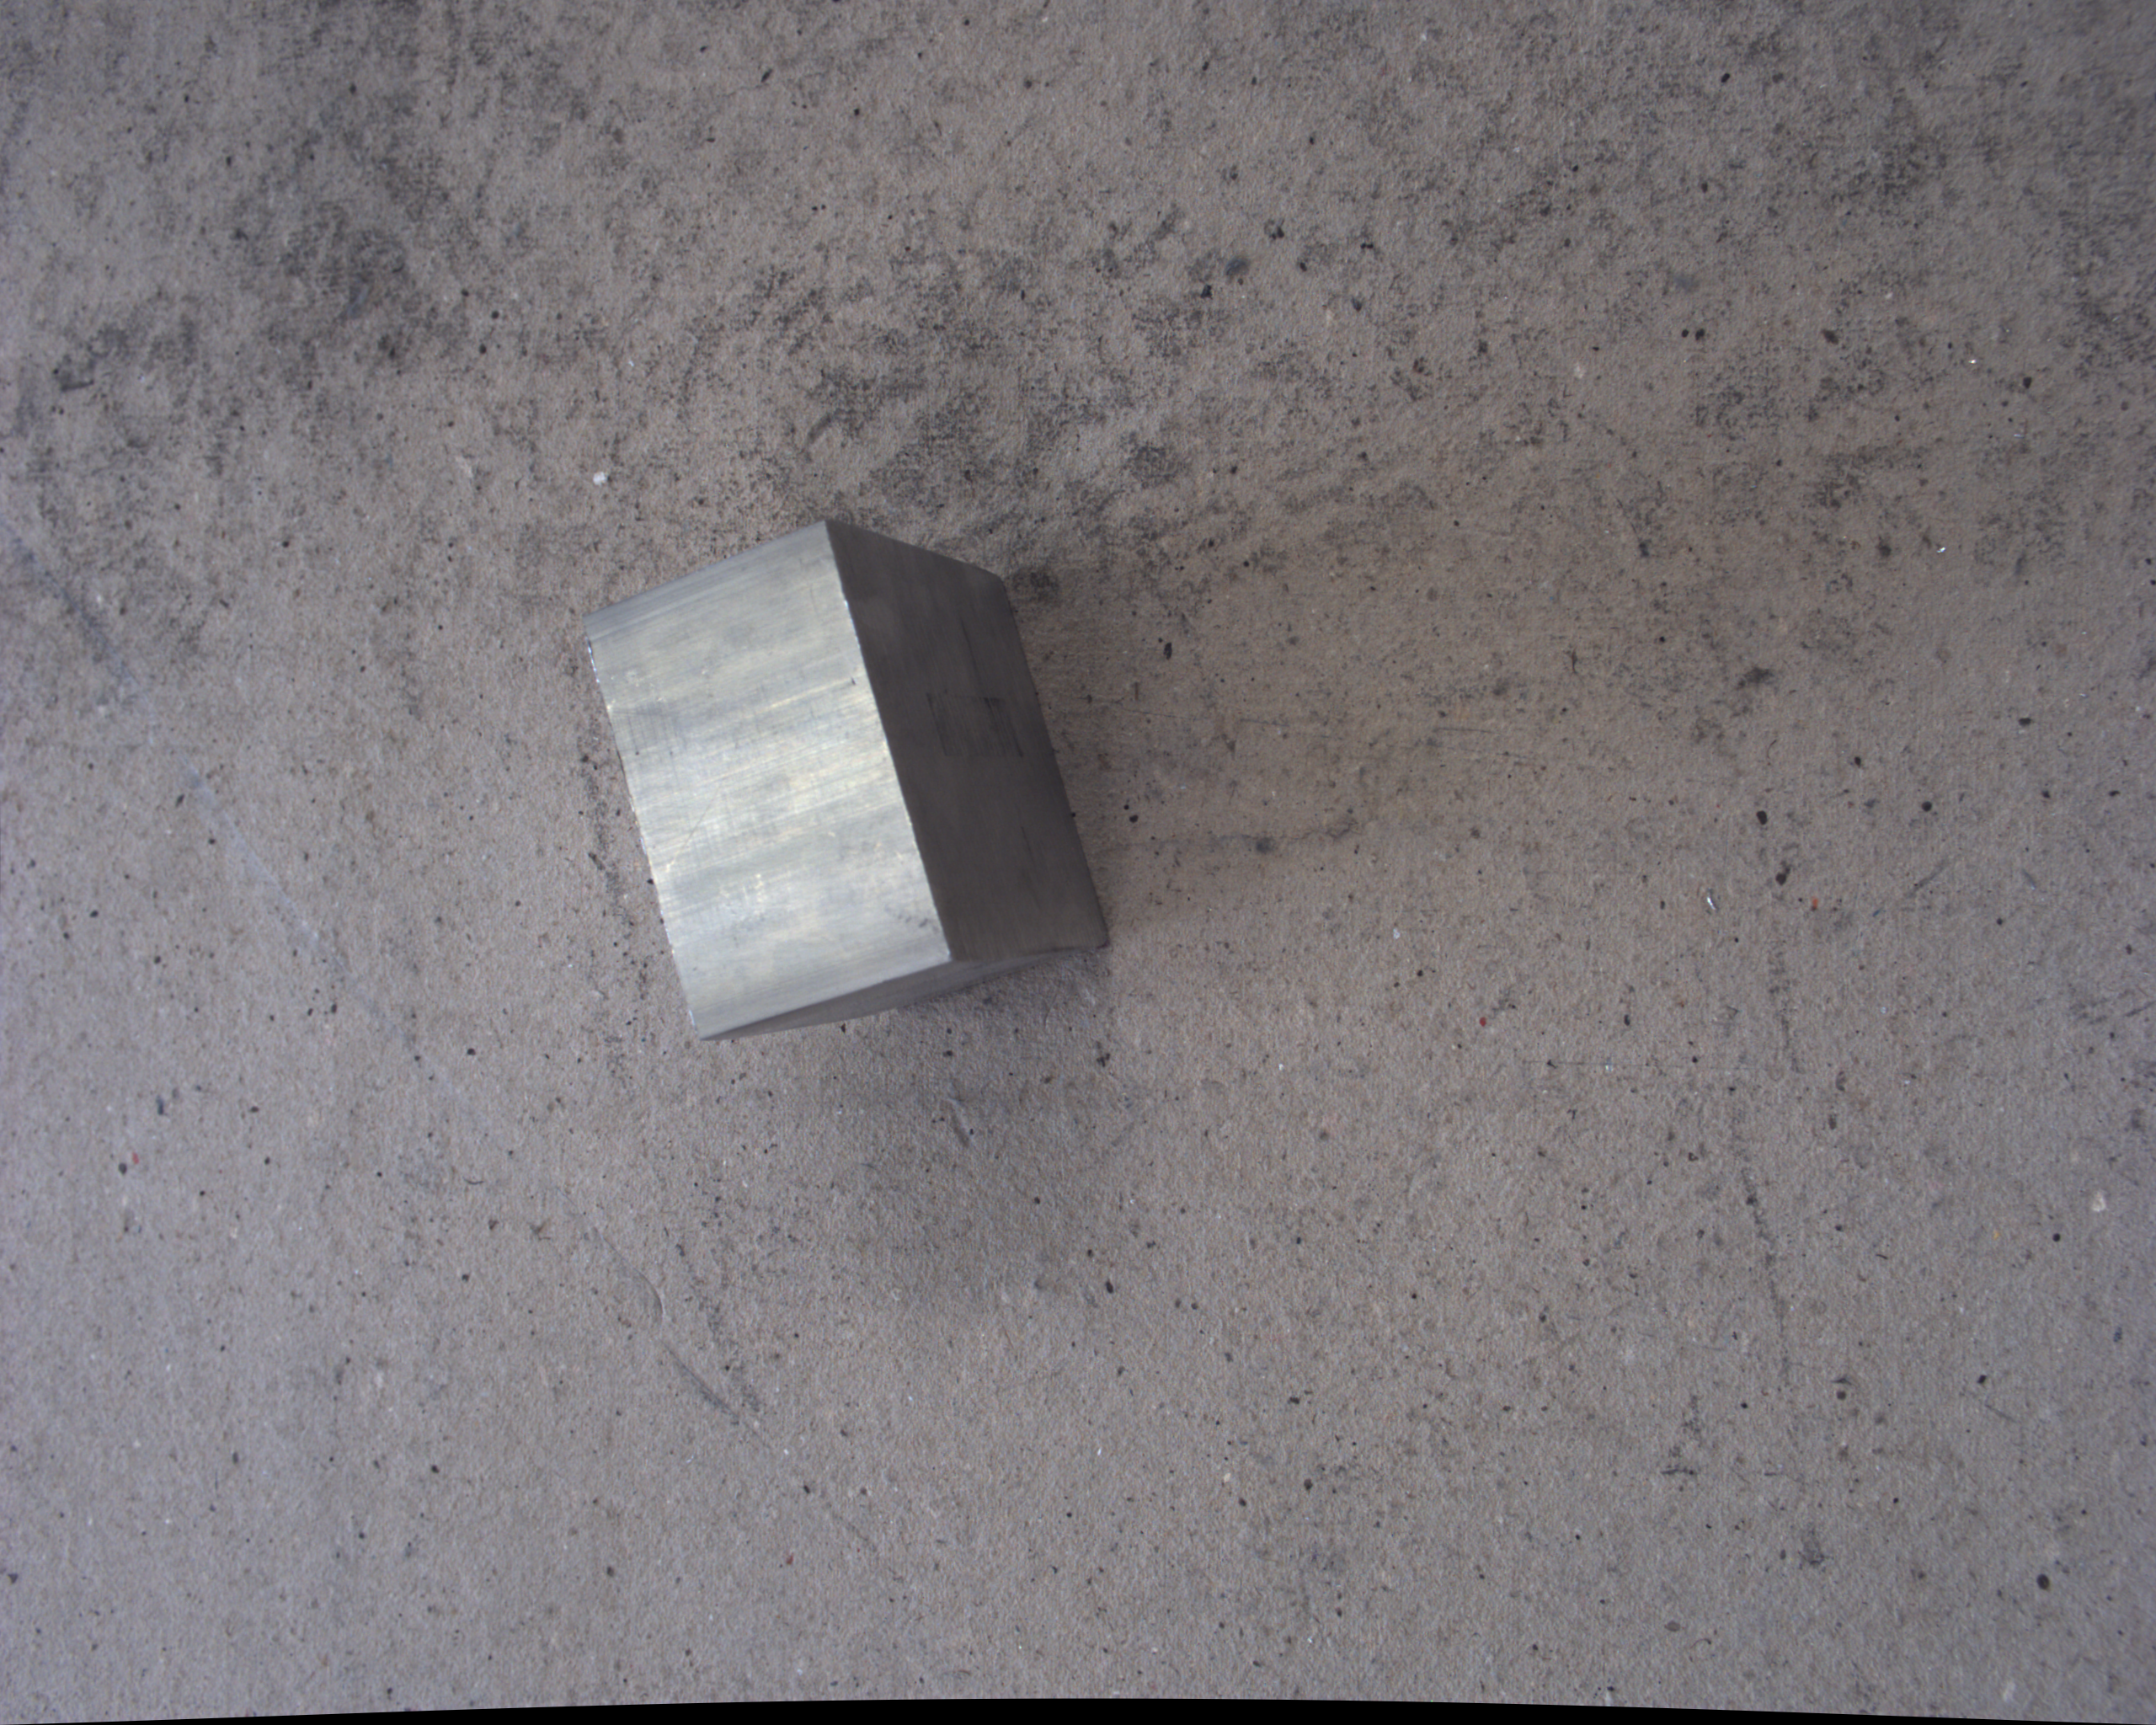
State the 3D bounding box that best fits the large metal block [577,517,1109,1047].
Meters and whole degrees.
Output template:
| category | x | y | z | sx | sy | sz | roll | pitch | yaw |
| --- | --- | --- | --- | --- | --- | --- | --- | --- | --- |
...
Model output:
| category | x | y | z | sx | sy | sz | roll | pitch | yaw |
| --- | --- | --- | --- | --- | --- | --- | --- | --- | --- |
| large metal block | -0.041 | -0.013 | 0.396 | 0.050 | 0.080 | 0.080 | -18 | 84 | 19 |
